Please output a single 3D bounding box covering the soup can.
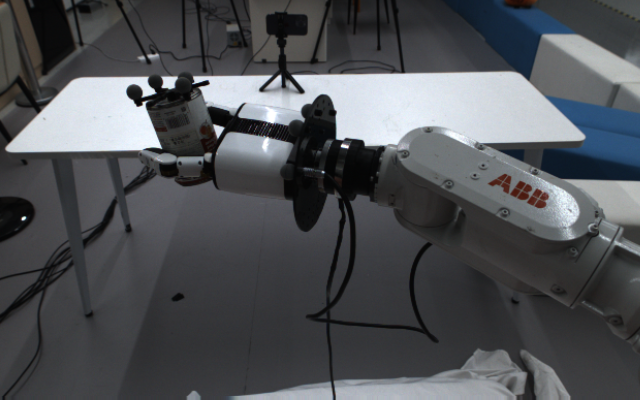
[{"bbox_3d":[-0.158,-0.076,0.582,0.067,0.101,0.067,-11,27,6],"label":"soup can"}]
